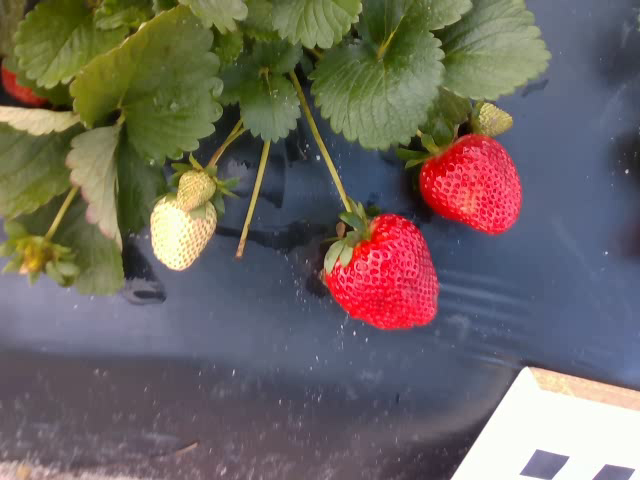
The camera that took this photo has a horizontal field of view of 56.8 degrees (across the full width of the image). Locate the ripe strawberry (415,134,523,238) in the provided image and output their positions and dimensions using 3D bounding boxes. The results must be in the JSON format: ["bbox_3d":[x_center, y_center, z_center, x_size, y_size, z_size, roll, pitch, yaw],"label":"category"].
[{"bbox_3d":[0.082,-0.026,0.308,0.050,0.060,0.051,-41,-24,26],"label":"ripe strawberry"}]

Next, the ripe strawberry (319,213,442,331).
[{"bbox_3d":[0.037,0.023,0.305,0.058,0.065,0.044,-36,10,24],"label":"ripe strawberry"}]
